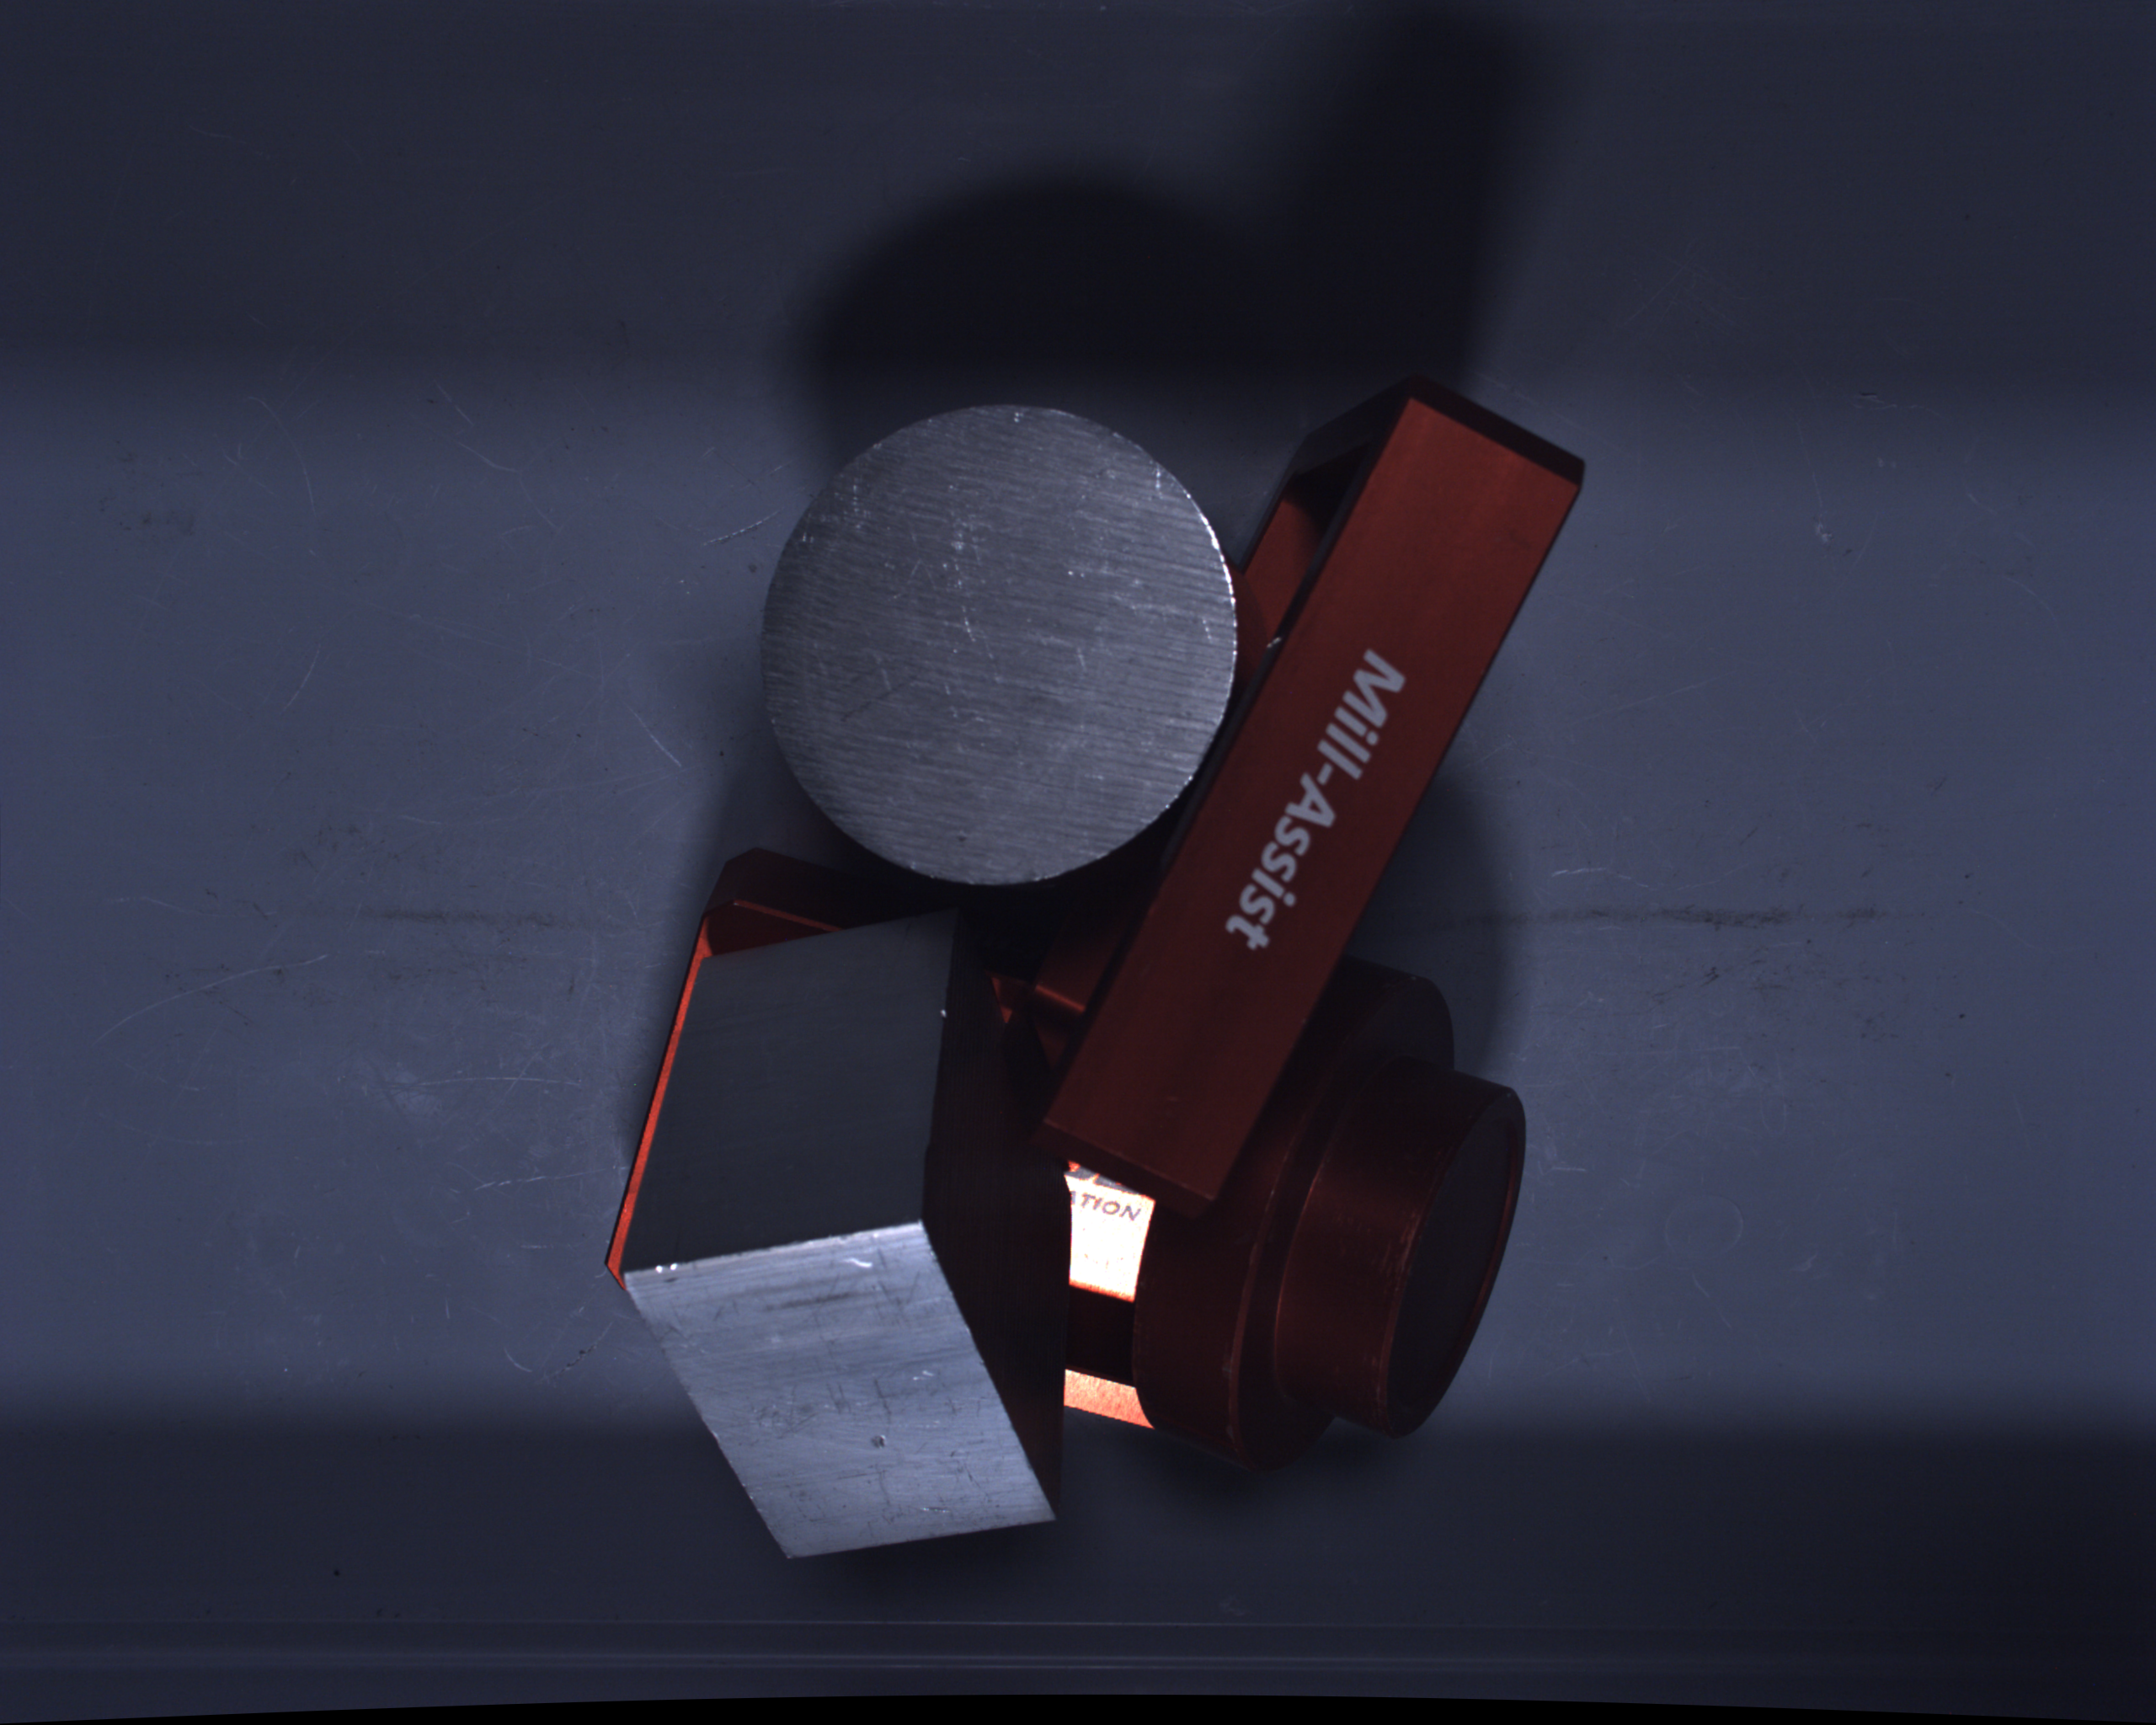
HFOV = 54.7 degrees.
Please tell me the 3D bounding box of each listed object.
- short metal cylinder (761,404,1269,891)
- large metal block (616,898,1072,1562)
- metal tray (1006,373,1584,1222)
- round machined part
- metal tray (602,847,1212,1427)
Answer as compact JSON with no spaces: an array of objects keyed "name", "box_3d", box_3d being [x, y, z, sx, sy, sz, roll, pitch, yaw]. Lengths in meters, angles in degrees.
[{"name":"short metal cylinder","box_3d":[-0.009,-0.035,0.367,0.080,0.050,0.080,-1,87,11]},{"name":"large metal block","box_3d":[-0.037,0.066,0.380,0.050,0.080,0.080,-12,126,10]},{"name":"metal tray","box_3d":[0.031,-0.013,0.354,0.030,0.090,0.129,26,92,-6]},{"name":"round machined part","box_3d":[0.053,0.069,0.393,0.042,0.099,0.097,17,112,26]},{"name":"metal tray","box_3d":[-0.021,0.059,0.427,0.131,0.030,0.089,16,109,-6]}]
